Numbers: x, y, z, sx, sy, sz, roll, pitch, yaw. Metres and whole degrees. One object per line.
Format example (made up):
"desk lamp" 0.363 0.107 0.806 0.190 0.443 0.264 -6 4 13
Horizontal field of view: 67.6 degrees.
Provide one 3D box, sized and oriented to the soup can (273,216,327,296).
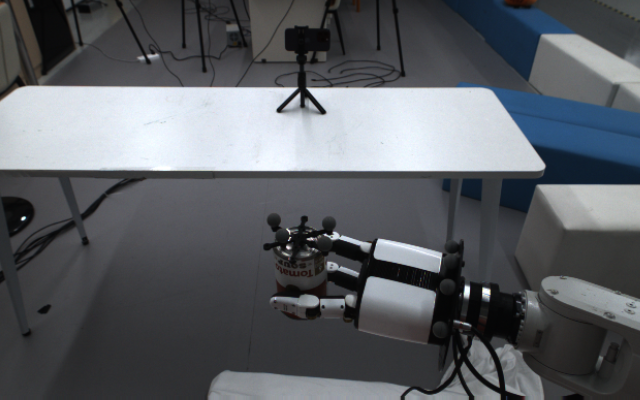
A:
"soup can" -0.021 0.091 0.615 0.067 0.101 0.067 -2 34 1
